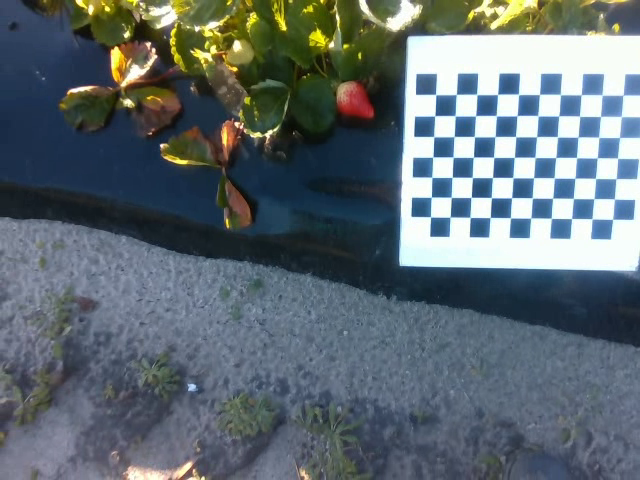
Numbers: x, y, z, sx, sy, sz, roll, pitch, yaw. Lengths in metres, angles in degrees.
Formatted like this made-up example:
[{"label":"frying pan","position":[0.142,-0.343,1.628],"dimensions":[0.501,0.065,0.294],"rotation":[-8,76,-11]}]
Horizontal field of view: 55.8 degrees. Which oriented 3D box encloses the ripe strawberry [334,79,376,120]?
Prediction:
[{"label":"ripe strawberry","position":[0.045,-0.176,0.772],"dimensions":[0.065,0.040,0.040],"rotation":[41,5,-3]}]
